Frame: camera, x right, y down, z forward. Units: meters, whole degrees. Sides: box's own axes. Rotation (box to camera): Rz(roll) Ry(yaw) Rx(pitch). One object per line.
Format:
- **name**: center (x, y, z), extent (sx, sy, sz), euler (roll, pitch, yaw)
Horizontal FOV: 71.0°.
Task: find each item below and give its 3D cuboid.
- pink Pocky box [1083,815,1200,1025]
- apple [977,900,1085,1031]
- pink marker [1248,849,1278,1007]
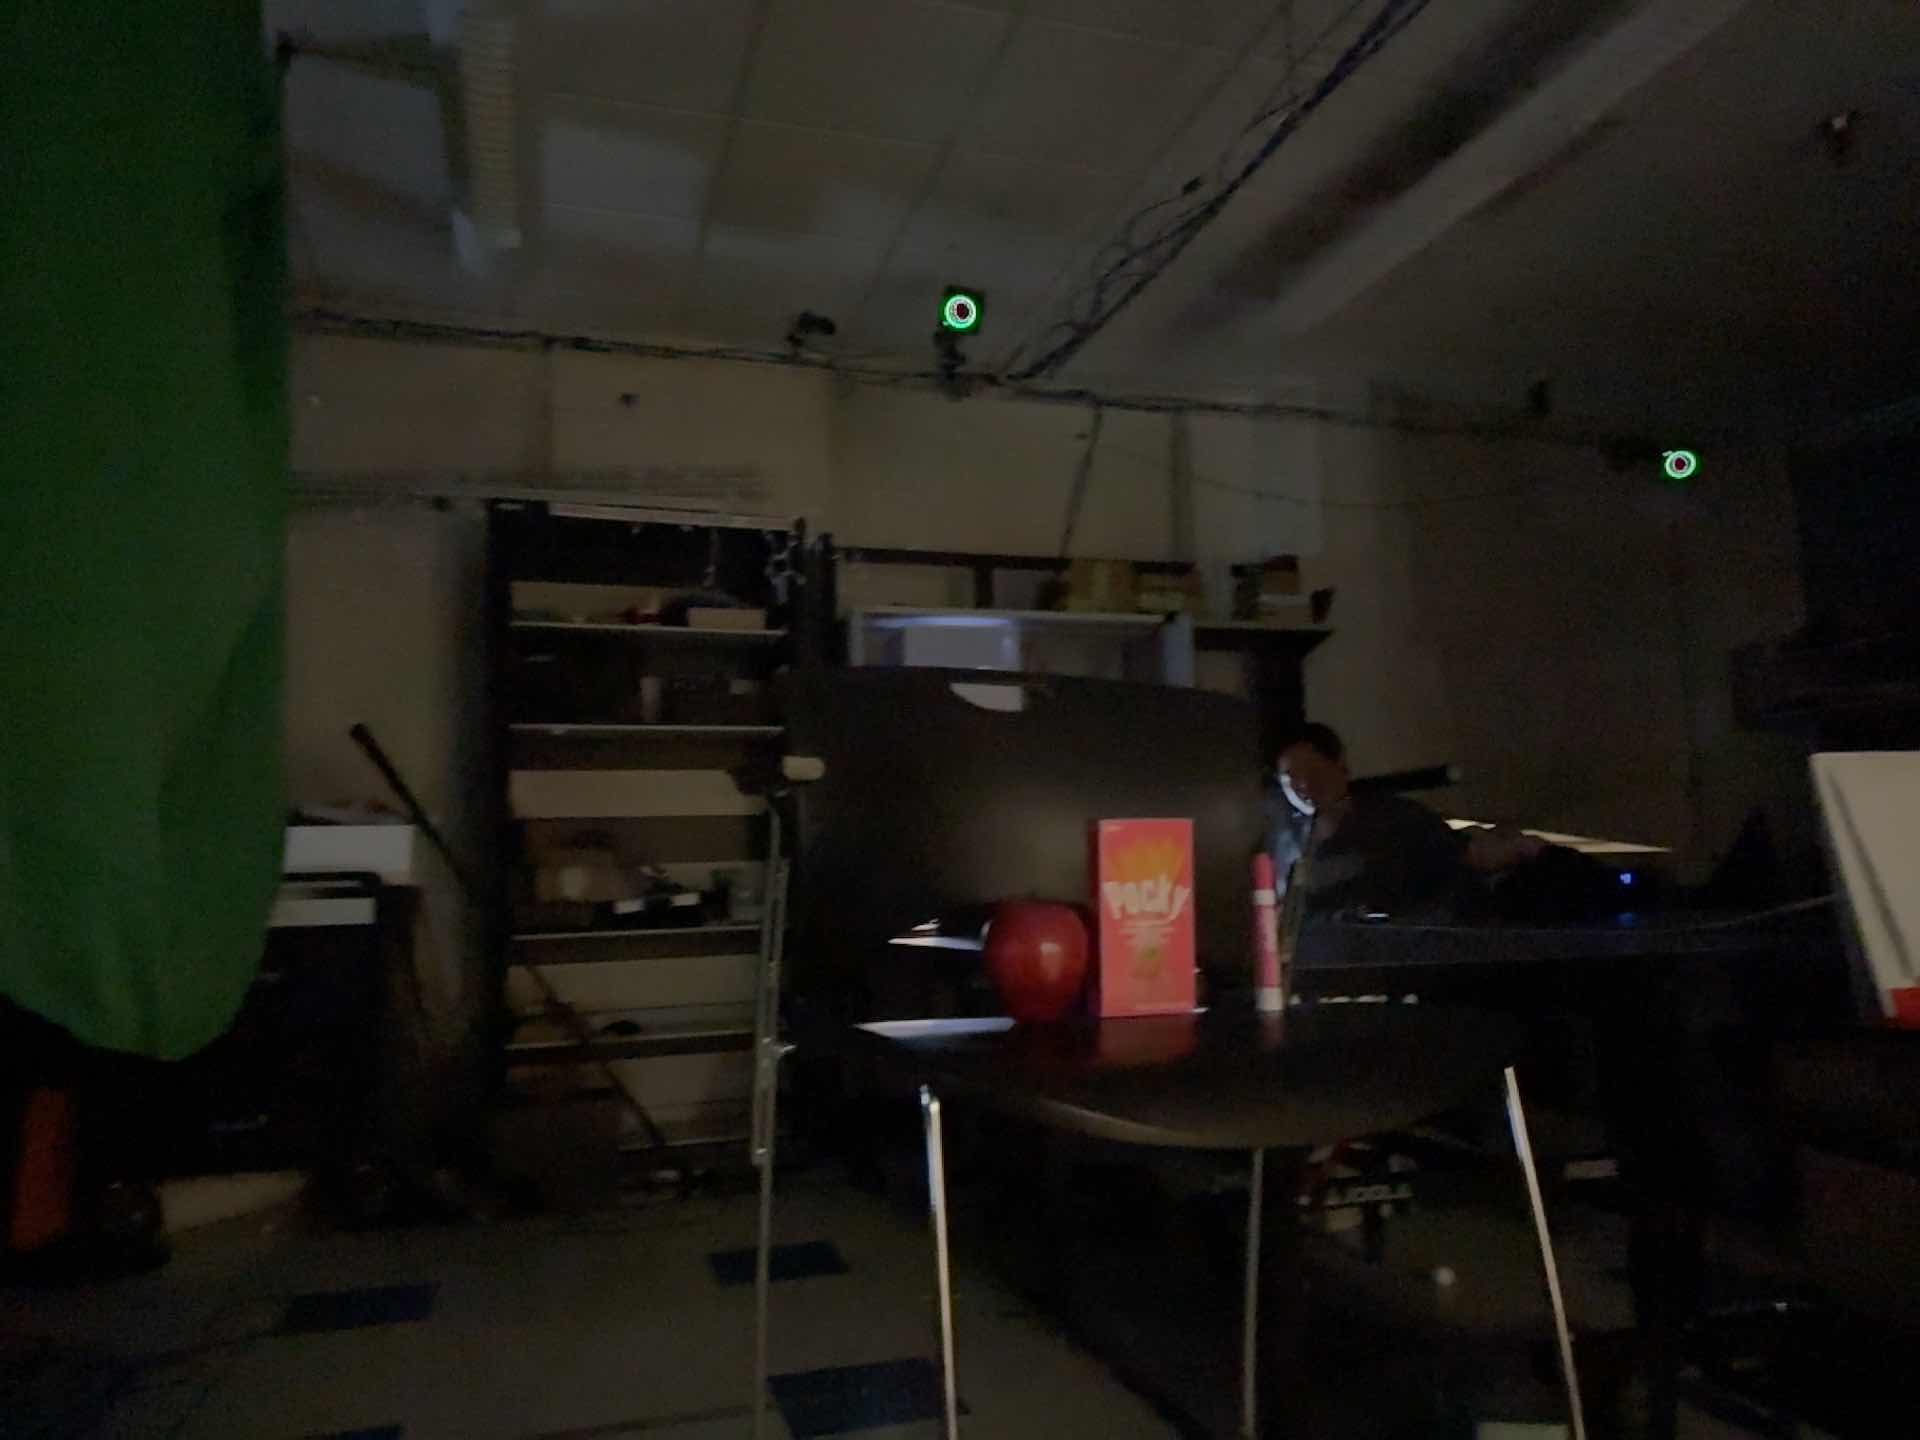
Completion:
- **pink Pocky box**: center (0.137, 0.149, 1.020), extent (0.084, 0.155, 0.029), euler (2, -5, -19)
- **apple**: center (0.051, 0.178, 0.981), extent (0.079, 0.093, 0.079), euler (-2, -11, 0)
- **pink marker**: center (0.237, 0.162, 1.052), extent (0.020, 0.121, 0.020), euler (0, -7, 0)
